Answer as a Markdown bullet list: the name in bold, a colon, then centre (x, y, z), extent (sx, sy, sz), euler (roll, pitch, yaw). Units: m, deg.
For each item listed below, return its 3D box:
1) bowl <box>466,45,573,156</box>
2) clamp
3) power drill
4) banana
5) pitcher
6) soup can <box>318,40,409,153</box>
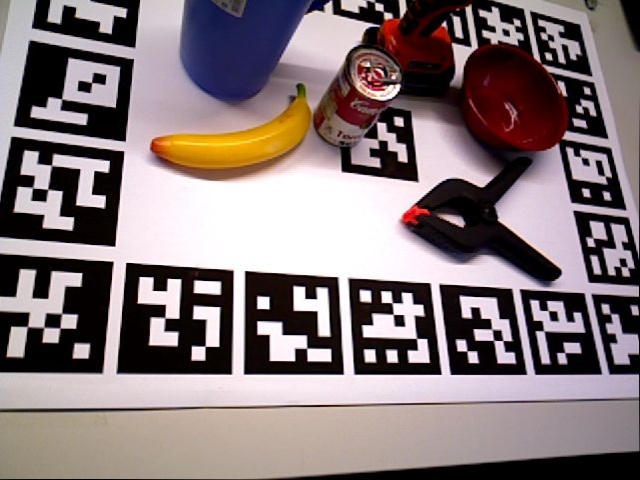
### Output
- **bowl**: centre (0.245, -0.168, 0.694), extent (0.160, 0.056, 0.160), euler (6, 70, -18)
- **clamp**: centre (0.200, -0.022, 0.628), extent (0.200, 0.037, 0.164), euler (1, 75, -20)
- **power drill**: centre (0.169, -0.259, 0.602), extent (0.182, 0.191, 0.057), euler (-1, 70, -22)
- **banana**: centre (-0.079, -0.101, 0.562), extent (0.193, 0.040, 0.074), euler (-23, 72, -28)
- **pitcher**: centre (-0.047, -0.243, 0.505), extent (0.185, 0.248, 0.133), euler (-22, 76, -27)
- **soup can**: centre (0.044, -0.152, 0.588), extent (0.067, 0.104, 0.067), euler (9, 59, -16)
